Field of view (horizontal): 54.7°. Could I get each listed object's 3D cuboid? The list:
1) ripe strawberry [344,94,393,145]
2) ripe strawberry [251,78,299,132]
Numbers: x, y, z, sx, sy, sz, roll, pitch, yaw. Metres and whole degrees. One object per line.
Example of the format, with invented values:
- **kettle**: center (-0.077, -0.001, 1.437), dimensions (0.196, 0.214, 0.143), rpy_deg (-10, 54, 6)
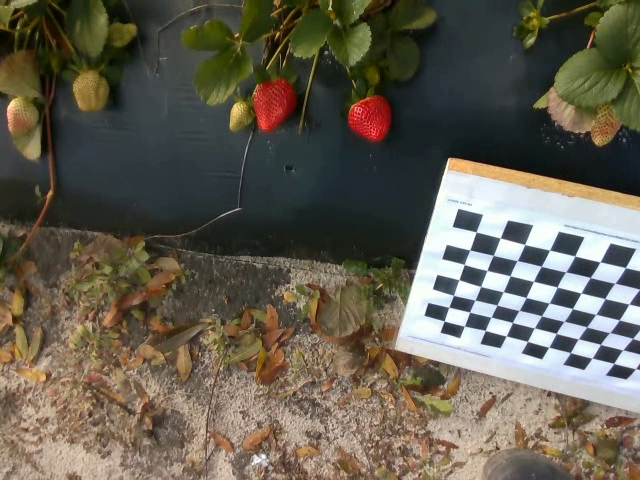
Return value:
- **ripe strawberry**: center (0.035, -0.079, 0.412), dimensions (0.033, 0.039, 0.038), rpy_deg (6, -34, -11)
- **ripe strawberry**: center (-0.033, -0.091, 0.422), dimensions (0.035, 0.036, 0.041), rpy_deg (5, -23, 22)
